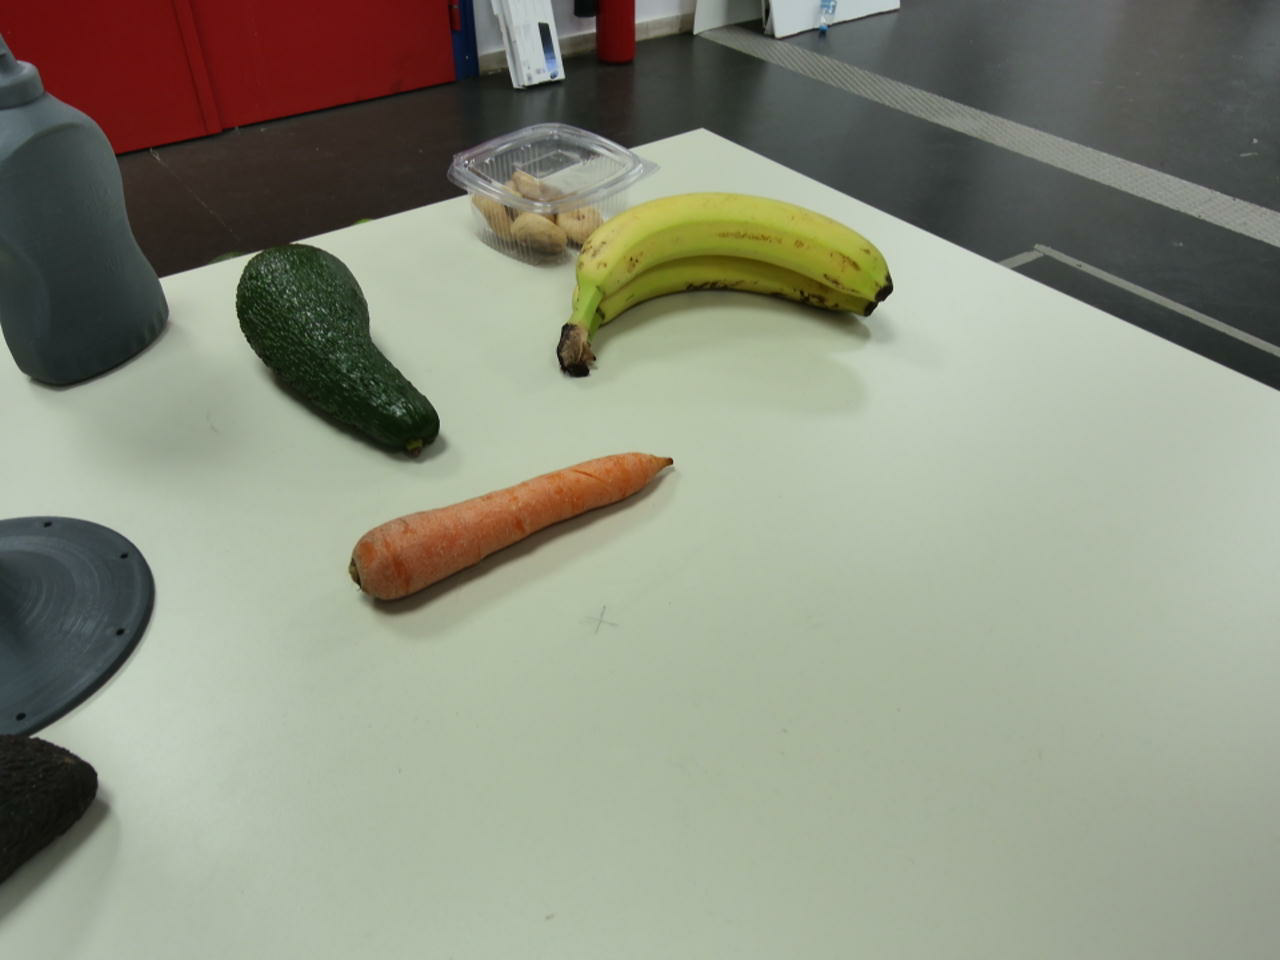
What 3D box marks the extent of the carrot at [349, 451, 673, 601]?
[{"bbox_3d":[-0.062,0.013,0.535,0.196,0.041,0.039,-25,45,-29],"label":"carrot"}]
